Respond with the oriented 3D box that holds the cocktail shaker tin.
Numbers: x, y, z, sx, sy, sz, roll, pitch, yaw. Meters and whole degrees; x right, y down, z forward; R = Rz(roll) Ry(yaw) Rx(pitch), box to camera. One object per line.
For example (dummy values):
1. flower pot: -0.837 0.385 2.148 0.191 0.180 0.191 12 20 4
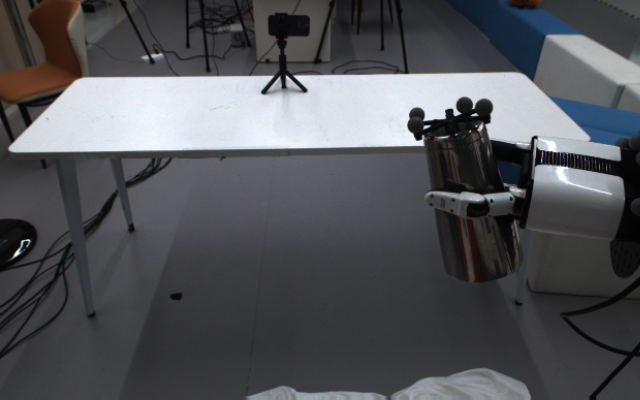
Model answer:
1. cocktail shaker tin: 0.171 -0.003 0.553 0.093 0.170 0.093 -17 20 7
